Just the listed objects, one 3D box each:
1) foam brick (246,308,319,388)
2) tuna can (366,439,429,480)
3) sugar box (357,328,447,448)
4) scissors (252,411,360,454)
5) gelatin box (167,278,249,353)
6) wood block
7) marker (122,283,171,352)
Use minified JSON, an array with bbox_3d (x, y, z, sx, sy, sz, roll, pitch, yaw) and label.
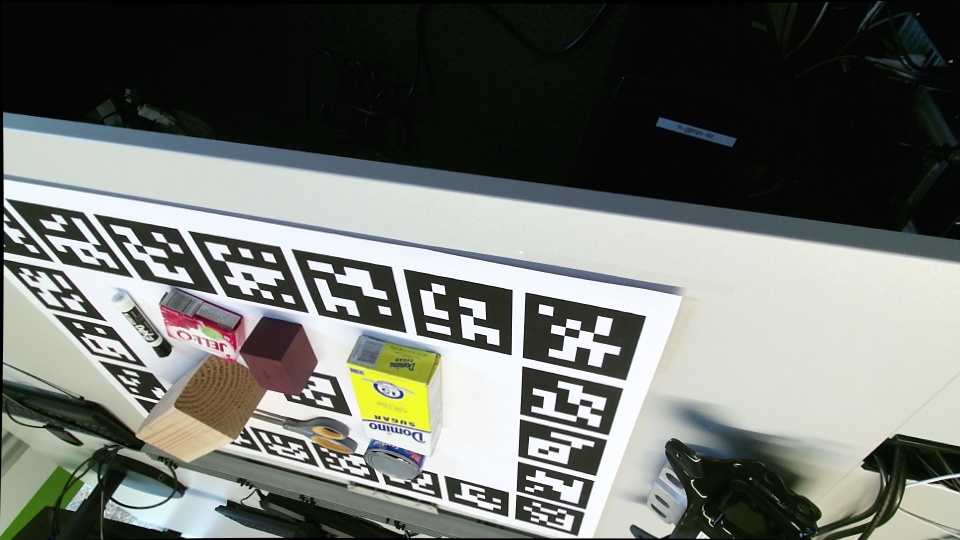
[{"bbox_3d":[-0.231,0.091,0.628,0.053,0.051,0.078,11,134,9],"label":"foam brick"},{"bbox_3d":[-0.116,0.264,0.767,0.086,0.033,0.086,10,134,10],"label":"tuna can"},{"bbox_3d":[-0.091,0.147,0.645,0.093,0.045,0.176,14,135,8],"label":"sugar box"},{"bbox_3d":[-0.282,0.233,0.813,0.203,0.016,0.088,14,135,3],"label":"scissors"},{"bbox_3d":[-0.328,0.058,0.651,0.089,0.030,0.073,23,135,-3],"label":"gelatin box"},{"bbox_3d":[-0.404,0.190,0.766,0.090,0.090,0.206,41,133,-21],"label":"wood block"},{"bbox_3d":[-0.433,0.066,0.701,0.020,0.019,0.121,11,133,9],"label":"marker"}]
